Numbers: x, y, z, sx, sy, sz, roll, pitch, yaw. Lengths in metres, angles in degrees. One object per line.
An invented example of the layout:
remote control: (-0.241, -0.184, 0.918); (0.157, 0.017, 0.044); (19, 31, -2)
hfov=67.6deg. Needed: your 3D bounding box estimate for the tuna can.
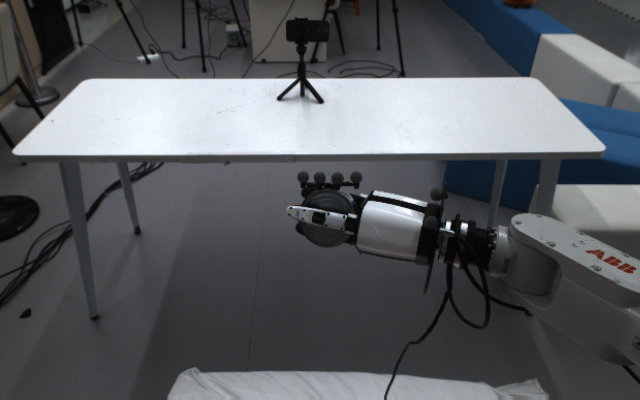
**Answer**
tuna can: (0.015, 0.025, 0.710); (0.085, 0.085, 0.034); (12, 8, 14)
